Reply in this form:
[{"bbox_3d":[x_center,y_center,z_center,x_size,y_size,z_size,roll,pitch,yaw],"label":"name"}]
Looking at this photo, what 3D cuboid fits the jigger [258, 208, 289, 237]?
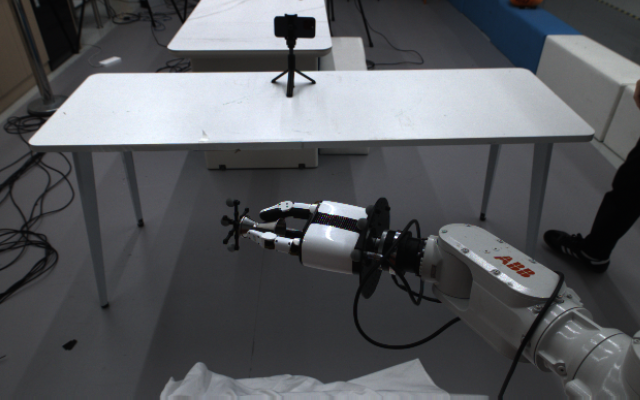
[{"bbox_3d":[-0.091,0.046,0.816,0.071,0.043,0.043,5,34,21],"label":"jigger"}]
